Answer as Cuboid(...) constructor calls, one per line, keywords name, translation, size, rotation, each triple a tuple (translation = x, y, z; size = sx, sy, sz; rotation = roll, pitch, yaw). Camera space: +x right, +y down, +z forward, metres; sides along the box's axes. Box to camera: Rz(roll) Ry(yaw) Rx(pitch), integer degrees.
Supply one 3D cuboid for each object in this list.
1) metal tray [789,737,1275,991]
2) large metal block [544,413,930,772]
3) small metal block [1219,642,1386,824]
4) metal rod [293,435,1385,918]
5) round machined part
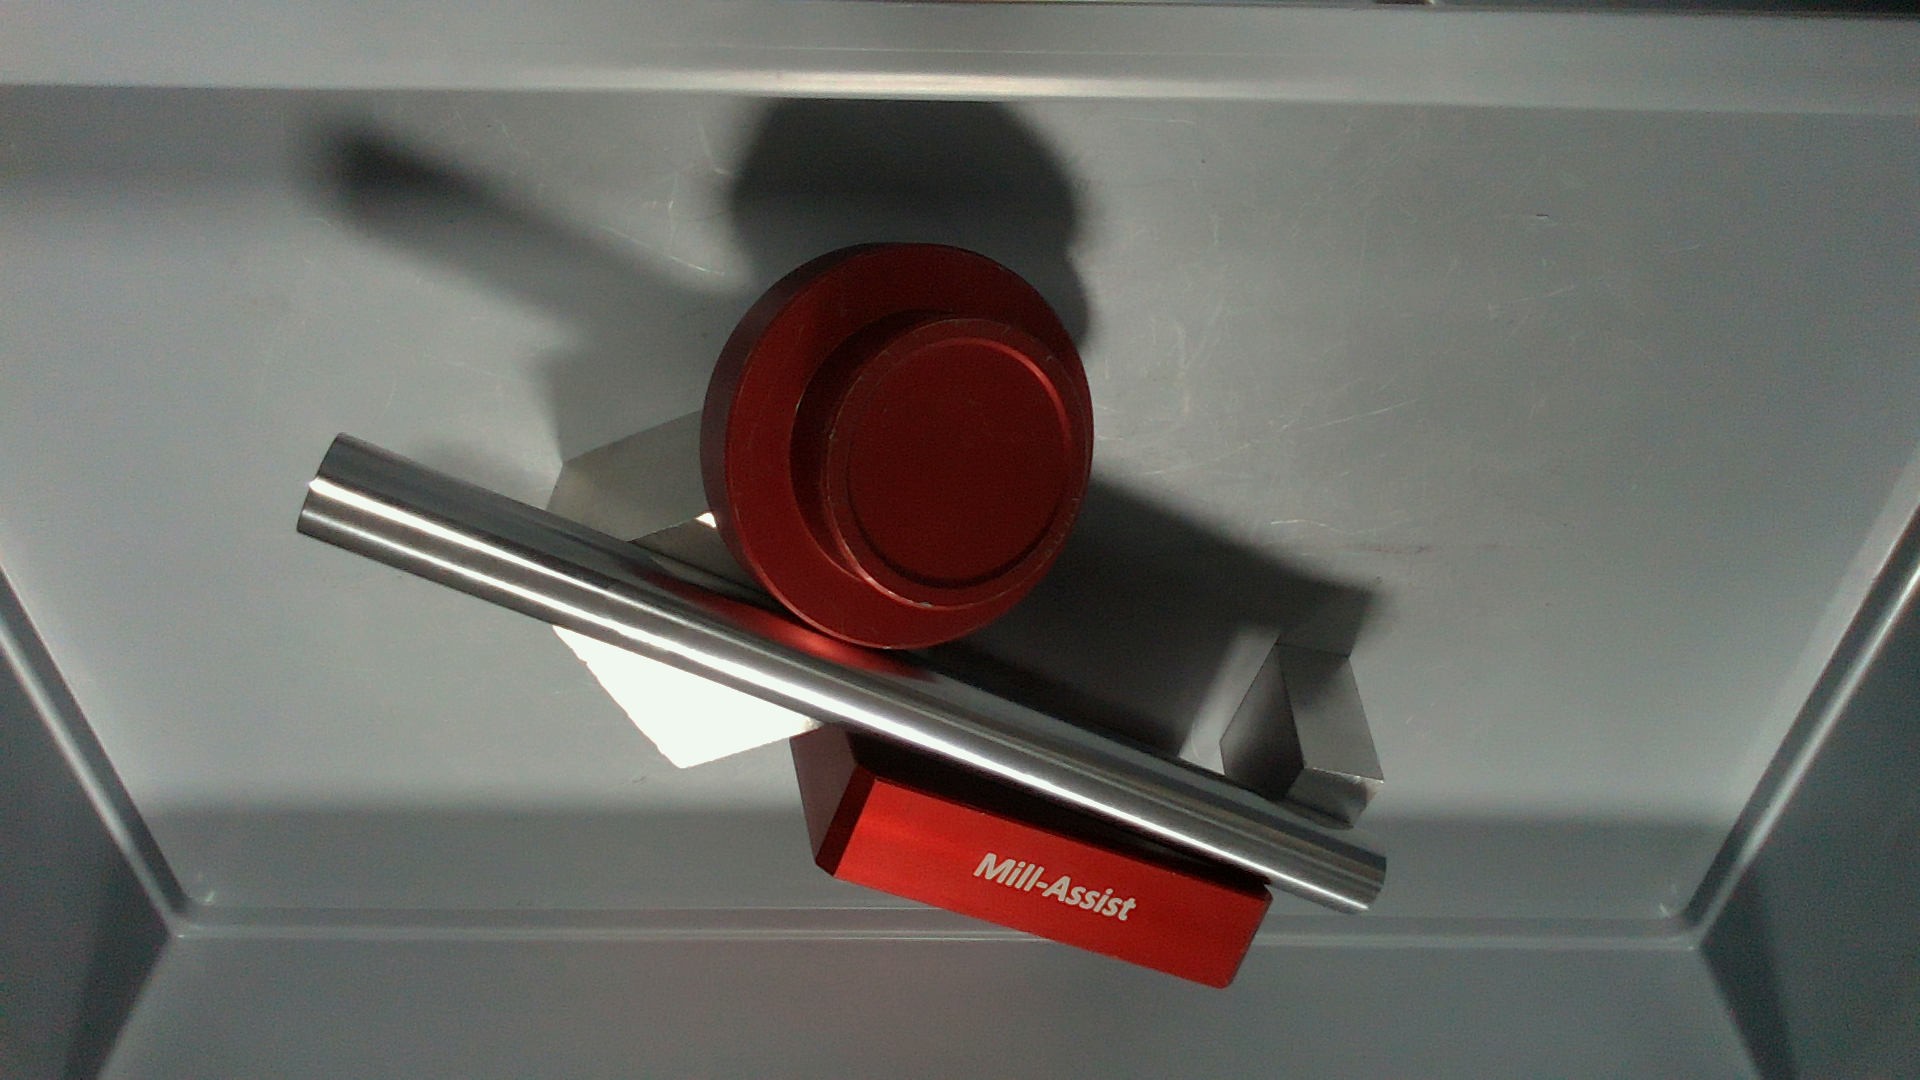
Cuboid(name="metal tray", translation=(0.018, 0.083, 0.412), size=(0.130, 0.090, 0.030), rotation=(21, 100, -17))
Cuboid(name="large metal block", translation=(-0.061, 0.011, 0.381), size=(0.080, 0.050, 0.080), rotation=(-18, 128, 14))
Cuboid(name="small metal block", translation=(0.105, 0.069, 0.432), size=(0.025, 0.050, 0.050), rotation=(11, 129, -9))
Cuboid(name="metal rod", translation=(-0.014, 0.043, 0.359), size=(0.301, 0.025, 0.025), rotation=(23, 126, -19))
Cuboid(name="round machined part", translation=(-0.008, -0.021, 0.327), size=(0.098, 0.042, 0.098), rotation=(-7, 104, -27))
